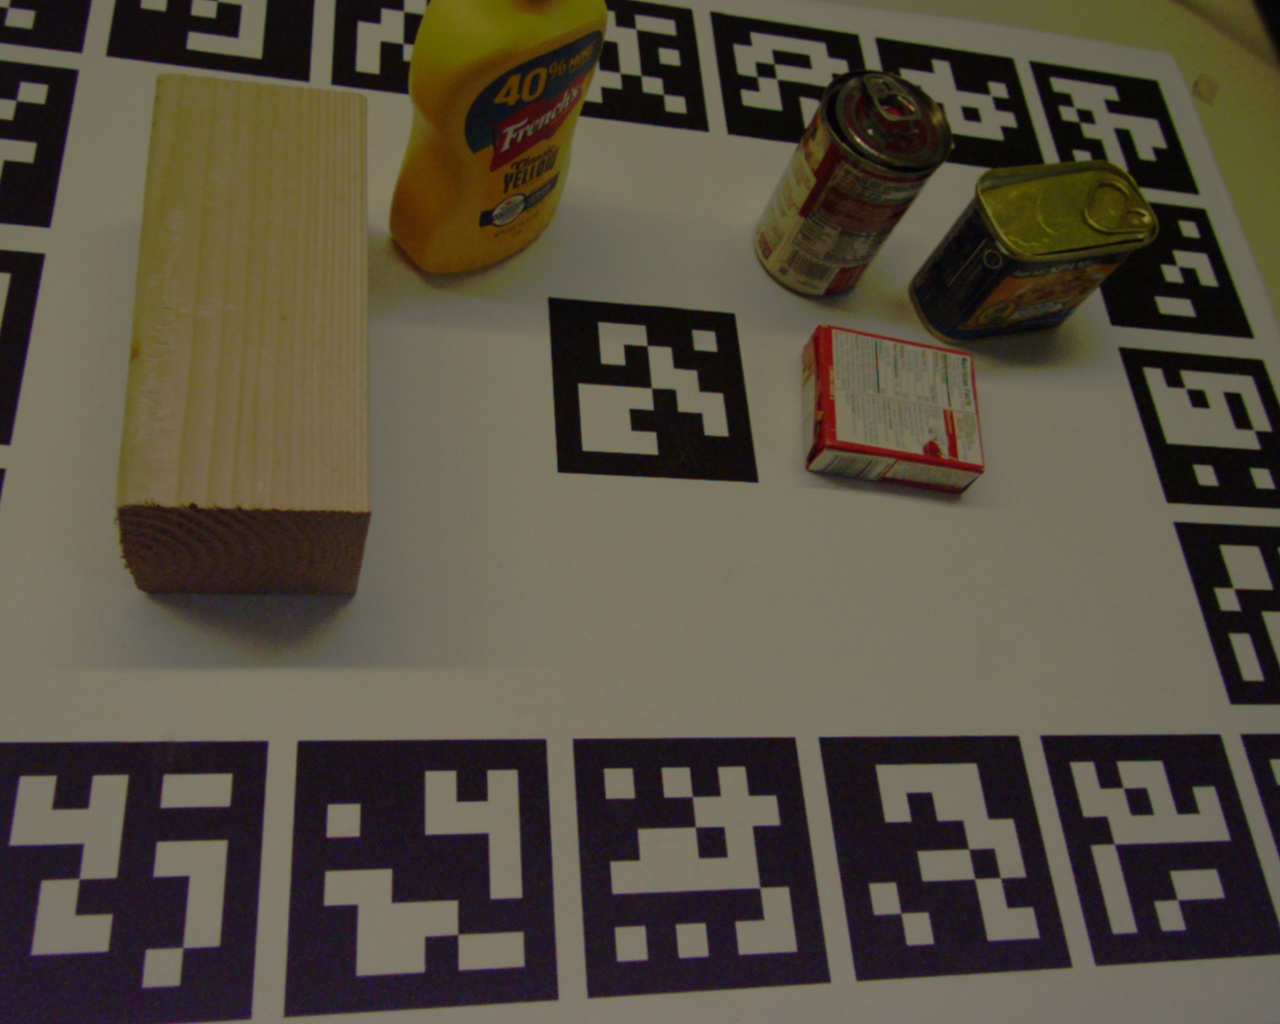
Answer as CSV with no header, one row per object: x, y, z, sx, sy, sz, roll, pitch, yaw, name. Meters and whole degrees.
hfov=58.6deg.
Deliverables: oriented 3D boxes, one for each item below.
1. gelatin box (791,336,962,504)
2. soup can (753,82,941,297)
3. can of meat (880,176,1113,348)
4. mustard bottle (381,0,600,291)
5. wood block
0.128,-0.049,0.615,0.089,0.030,0.073,11,64,-7,gelatin box
0.109,-0.173,0.624,0.067,0.102,0.068,6,65,-13,soup can
0.200,-0.141,0.655,0.101,0.084,0.058,-11,69,-23,can of meat
-0.069,-0.187,0.547,0.095,0.192,0.059,-23,73,-26,mustard bottle
-0.167,-0.076,0.519,0.090,0.090,0.207,4,60,-16,wood block
